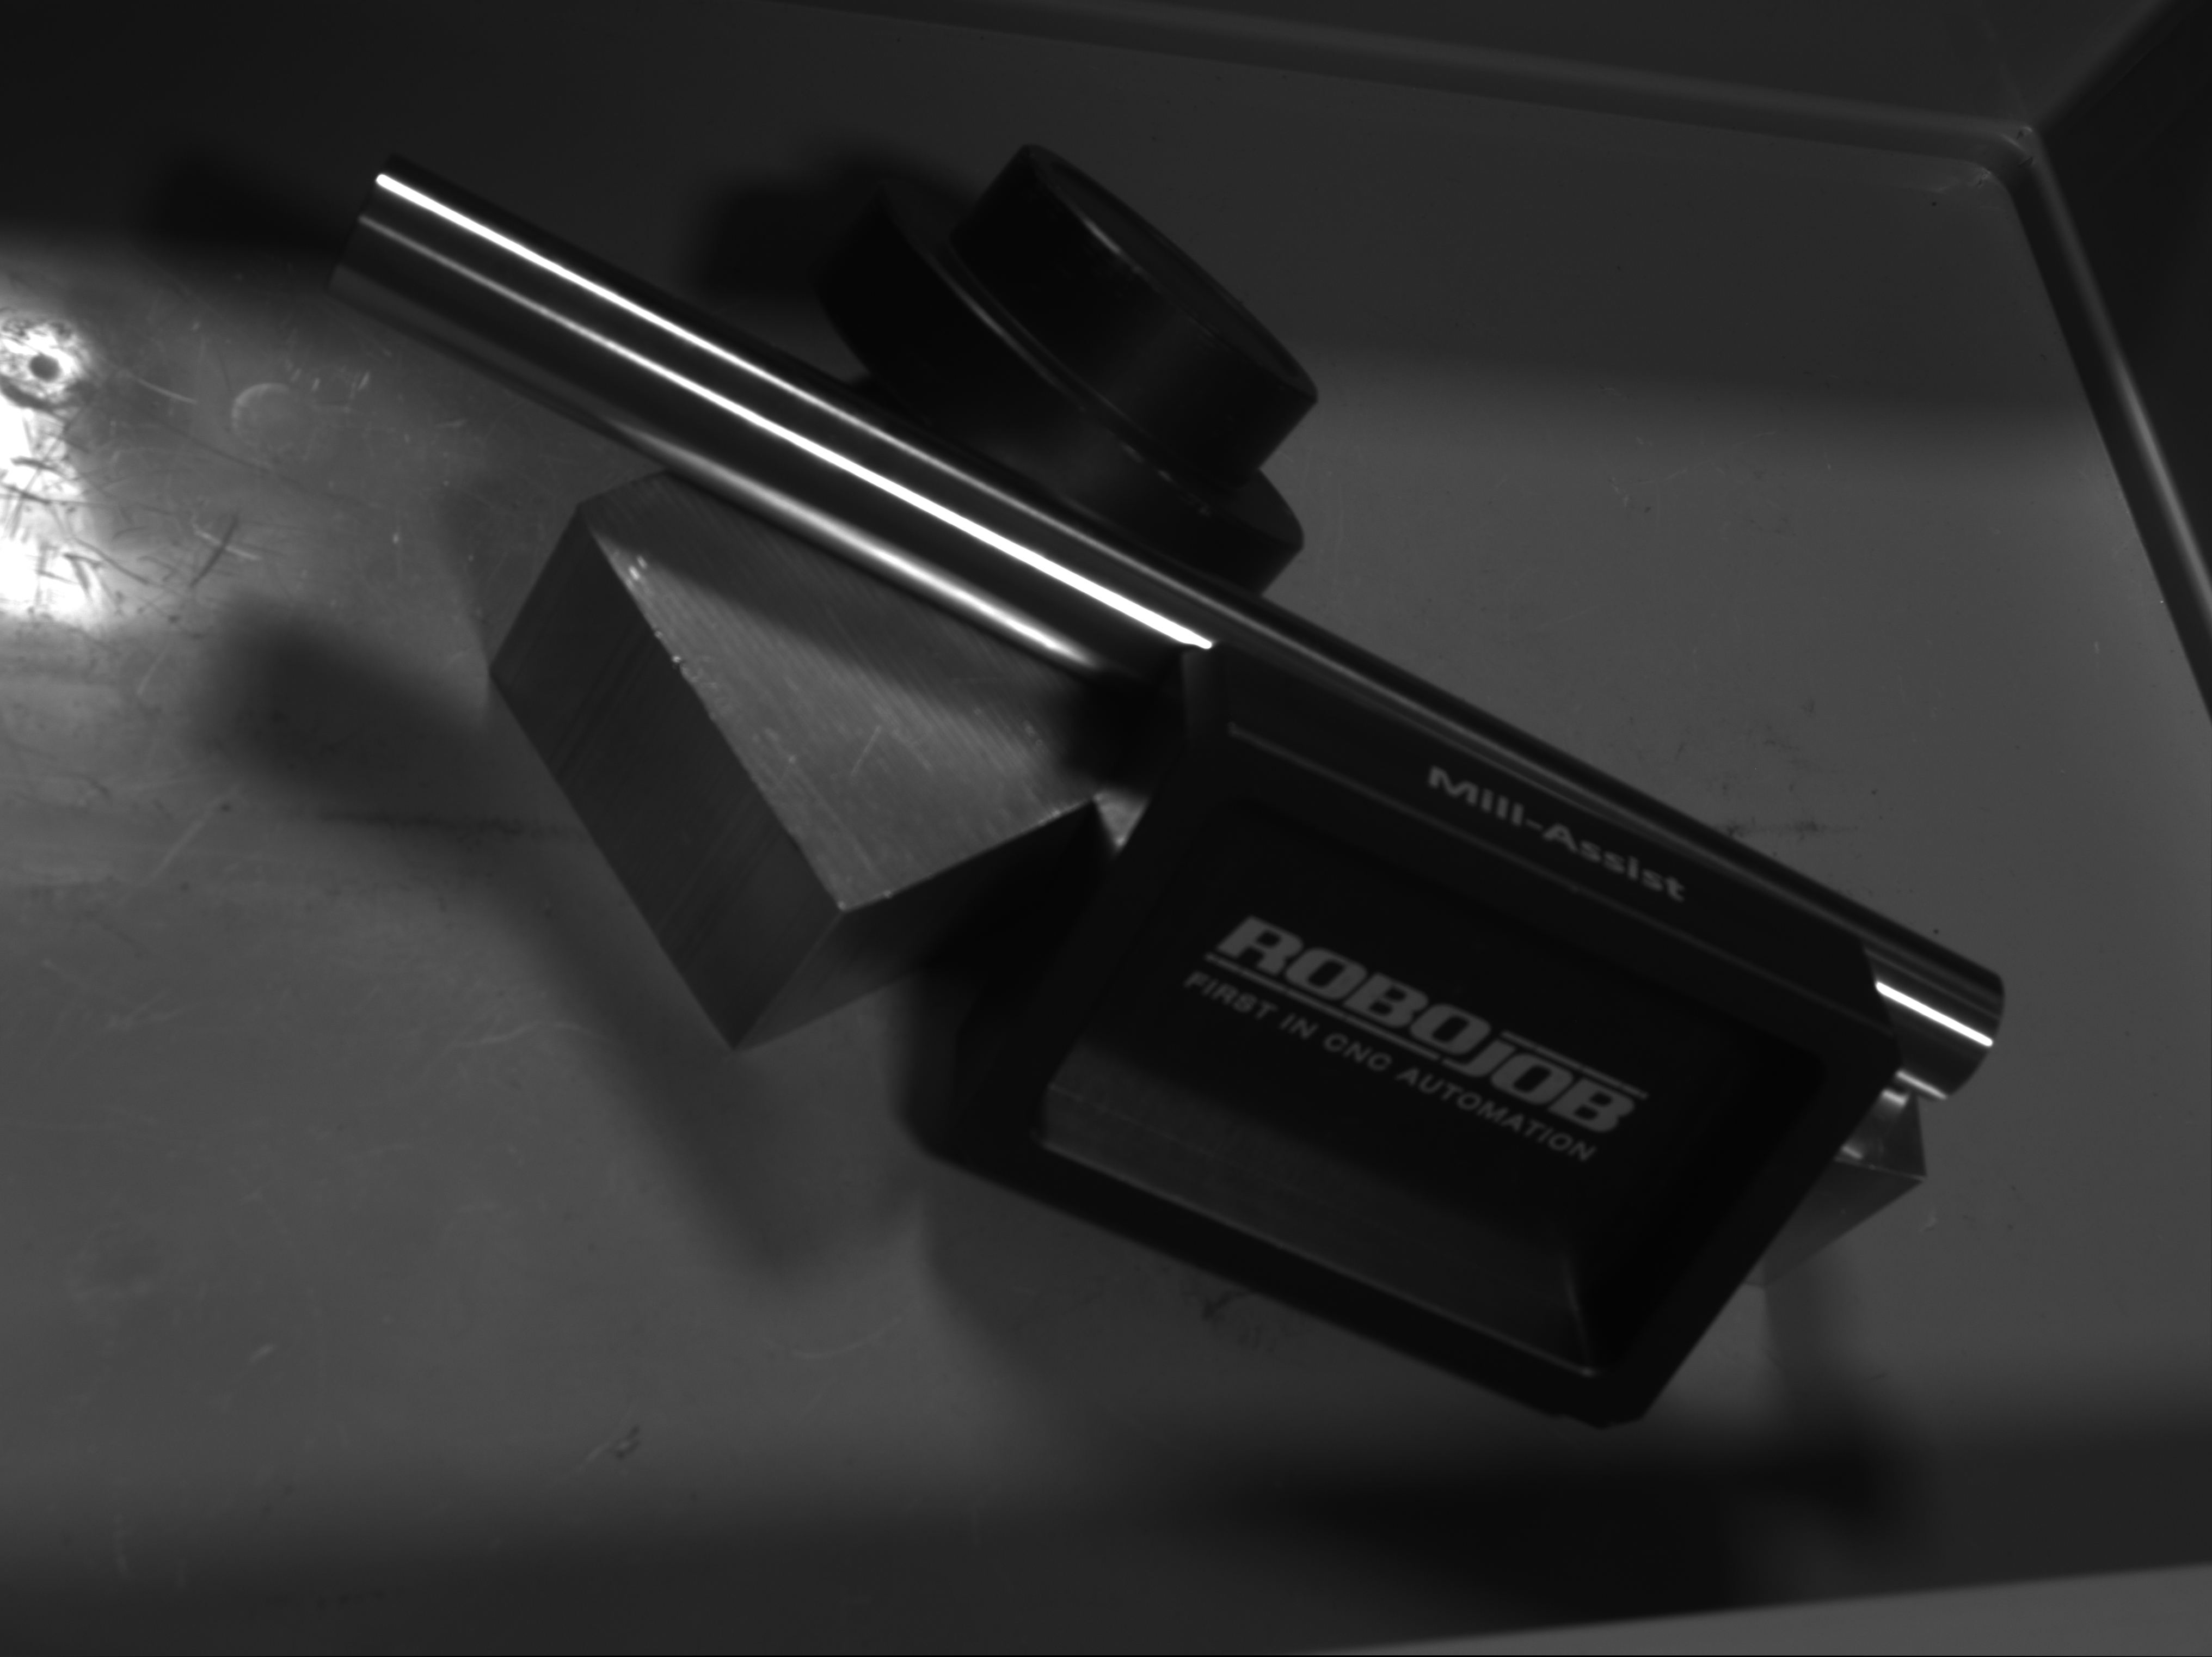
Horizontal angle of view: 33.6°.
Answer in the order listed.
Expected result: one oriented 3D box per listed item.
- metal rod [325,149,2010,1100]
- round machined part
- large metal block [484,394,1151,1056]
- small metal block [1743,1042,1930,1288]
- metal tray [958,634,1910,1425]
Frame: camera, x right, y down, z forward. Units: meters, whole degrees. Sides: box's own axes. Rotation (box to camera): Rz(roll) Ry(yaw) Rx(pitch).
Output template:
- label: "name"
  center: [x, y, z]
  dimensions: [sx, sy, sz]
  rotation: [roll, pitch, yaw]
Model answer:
- label: "metal rod"
  center: [0.016, -0.029, 0.599]
  dimensions: [0.300, 0.025, 0.025]
  rotation: [26, 52, -12]
- label: "round machined part"
  center: [-0.001, -0.083, 0.644]
  dimensions: [0.098, 0.042, 0.098]
  rotation: [39, 13, -10]
- label: "large metal block"
  center: [-0.043, -0.021, 0.611]
  dimensions: [0.080, 0.050, 0.080]
  rotation: [-25, 75, -37]
- label: "small metal block"
  center: [0.120, 0.048, 0.658]
  dimensions: [0.025, 0.050, 0.050]
  rotation: [14, 56, -20]
- label: "metal tray"
  center: [0.052, 0.035, 0.599]
  dimensions: [0.130, 0.090, 0.030]
  rotation: [24, 25, -14]
